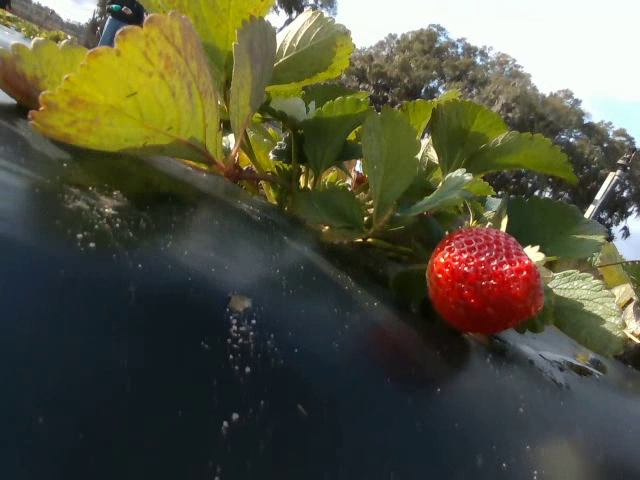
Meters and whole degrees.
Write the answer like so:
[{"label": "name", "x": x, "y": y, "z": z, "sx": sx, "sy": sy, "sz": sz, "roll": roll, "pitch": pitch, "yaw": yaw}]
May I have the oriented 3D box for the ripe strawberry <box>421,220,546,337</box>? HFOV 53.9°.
[{"label": "ripe strawberry", "x": 0.054, "y": 0.012, "z": 0.184, "sx": 0.041, "sy": 0.041, "sz": 0.047, "roll": -3, "pitch": 1, "yaw": -21}]
